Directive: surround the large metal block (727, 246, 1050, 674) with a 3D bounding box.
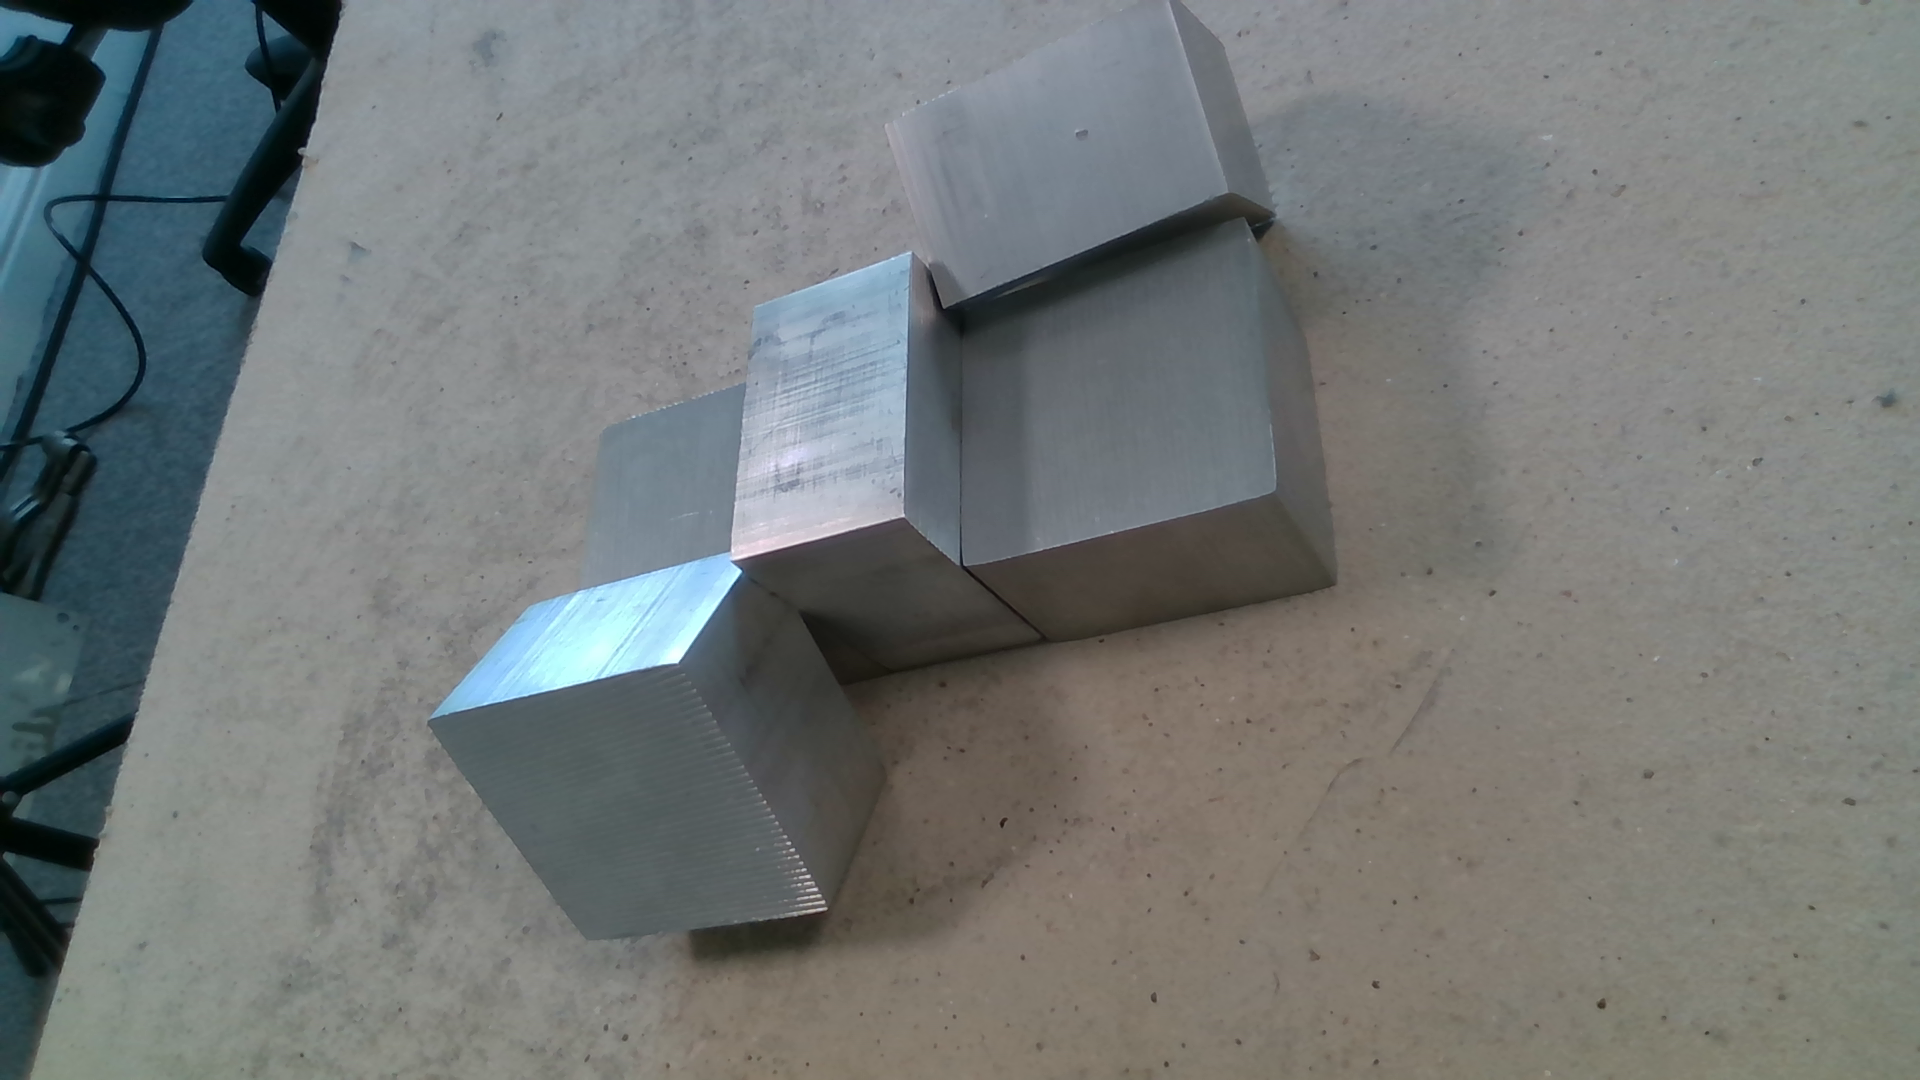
[{"bbox_3d":[-0.016,-0.018,0.377,0.050,0.080,0.080,-14,59,25],"label":"large metal block"}]

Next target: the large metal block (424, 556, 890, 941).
[{"bbox_3d":[-0.077,0.056,0.366,0.080,0.080,0.050,-14,27,25],"label":"large metal block"}]

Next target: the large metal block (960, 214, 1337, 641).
[{"bbox_3d":[0.048,-0.027,0.360,0.080,0.050,0.080,-14,59,25],"label":"large metal block"}]

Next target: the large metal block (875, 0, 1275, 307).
[{"bbox_3d":[0.035,-0.101,0.381,0.080,0.080,0.050,-18,91,23],"label":"large metal block"}]

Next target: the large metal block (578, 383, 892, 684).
[{"bbox_3d":[-0.066,0.002,0.417,0.080,0.050,0.080,-14,59,26],"label":"large metal block"}]
